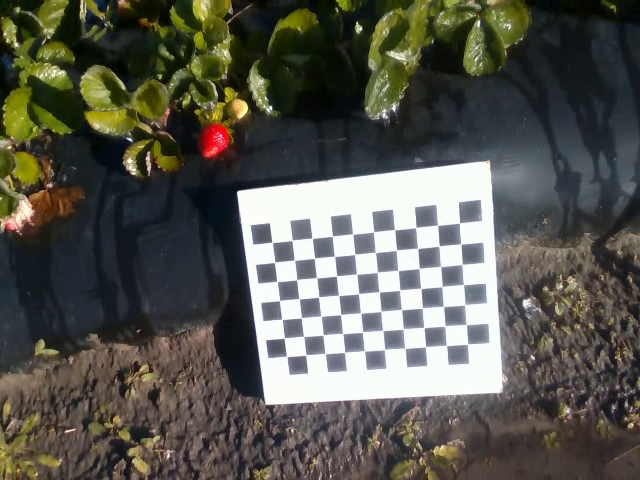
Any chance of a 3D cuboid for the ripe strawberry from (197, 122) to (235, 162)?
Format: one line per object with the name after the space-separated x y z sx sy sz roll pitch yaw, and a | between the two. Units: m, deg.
-0.098 -0.089 0.614 0.039 0.040 0.039 -14 32 21 | ripe strawberry
